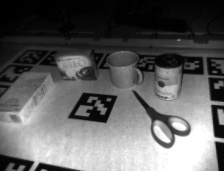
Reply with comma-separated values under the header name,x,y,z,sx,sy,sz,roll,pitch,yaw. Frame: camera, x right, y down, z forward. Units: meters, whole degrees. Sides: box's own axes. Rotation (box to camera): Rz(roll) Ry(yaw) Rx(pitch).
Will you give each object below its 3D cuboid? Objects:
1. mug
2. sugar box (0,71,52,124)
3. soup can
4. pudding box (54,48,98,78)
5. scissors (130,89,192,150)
name,x,y,z,sx,sy,sz,roll,pitch,yaw
mug,0.040,-0.056,0.620,0.094,0.082,0.116,-22,40,-11
sugar box,-0.248,0.027,0.606,0.092,0.045,0.176,1,42,14
soup can,0.141,-0.025,0.562,0.068,0.103,0.067,-6,39,5
pudding box,-0.105,-0.070,0.650,0.113,0.091,0.038,-3,47,7
scissors,0.100,0.061,0.520,0.088,0.016,0.200,-31,45,-11
